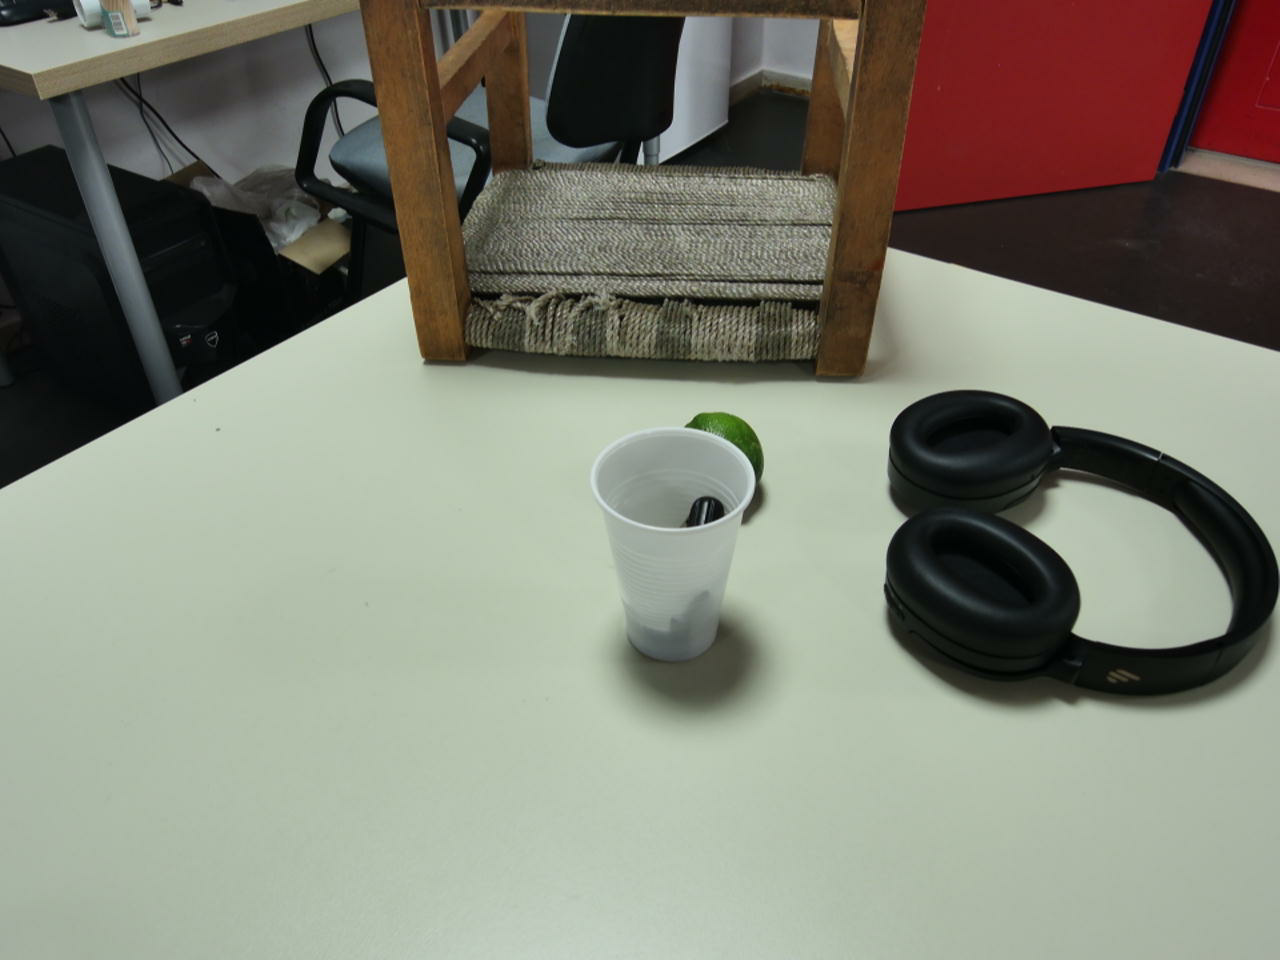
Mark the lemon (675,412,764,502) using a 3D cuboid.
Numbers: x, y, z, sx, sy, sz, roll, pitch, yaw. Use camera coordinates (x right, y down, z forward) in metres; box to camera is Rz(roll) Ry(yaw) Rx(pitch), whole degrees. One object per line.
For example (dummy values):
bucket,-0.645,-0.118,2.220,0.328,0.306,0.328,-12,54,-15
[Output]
lemon,0.049,-0.015,0.614,0.057,0.051,0.054,22,43,26
